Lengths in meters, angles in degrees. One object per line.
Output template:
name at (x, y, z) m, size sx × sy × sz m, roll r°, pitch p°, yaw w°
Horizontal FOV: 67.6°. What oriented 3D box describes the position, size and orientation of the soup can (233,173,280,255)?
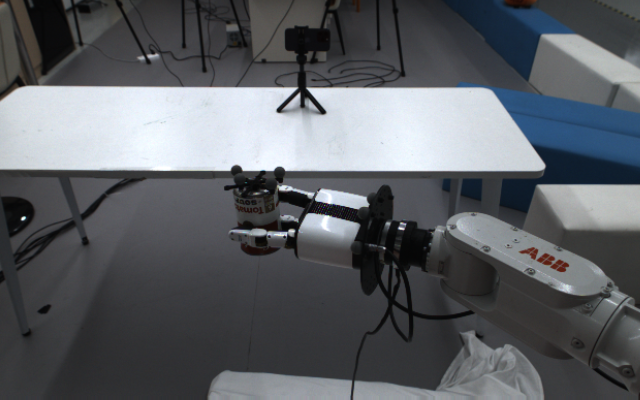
soup can at (-0.093, 0.026, 0.741) m, size 0.067 × 0.101 × 0.067 m, roll -3°, pitch 27°, yaw 2°
